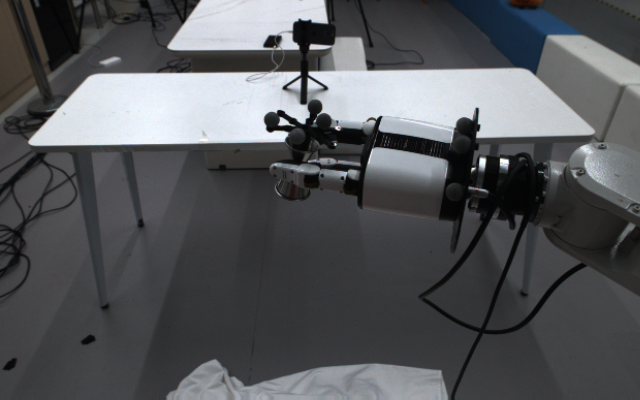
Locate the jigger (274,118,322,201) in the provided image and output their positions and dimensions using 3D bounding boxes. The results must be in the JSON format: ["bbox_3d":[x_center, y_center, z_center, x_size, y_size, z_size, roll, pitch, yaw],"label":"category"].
[{"bbox_3d":[-0.027,-0.038,0.570,0.043,0.071,0.043,10,36,-7],"label":"jigger"}]
